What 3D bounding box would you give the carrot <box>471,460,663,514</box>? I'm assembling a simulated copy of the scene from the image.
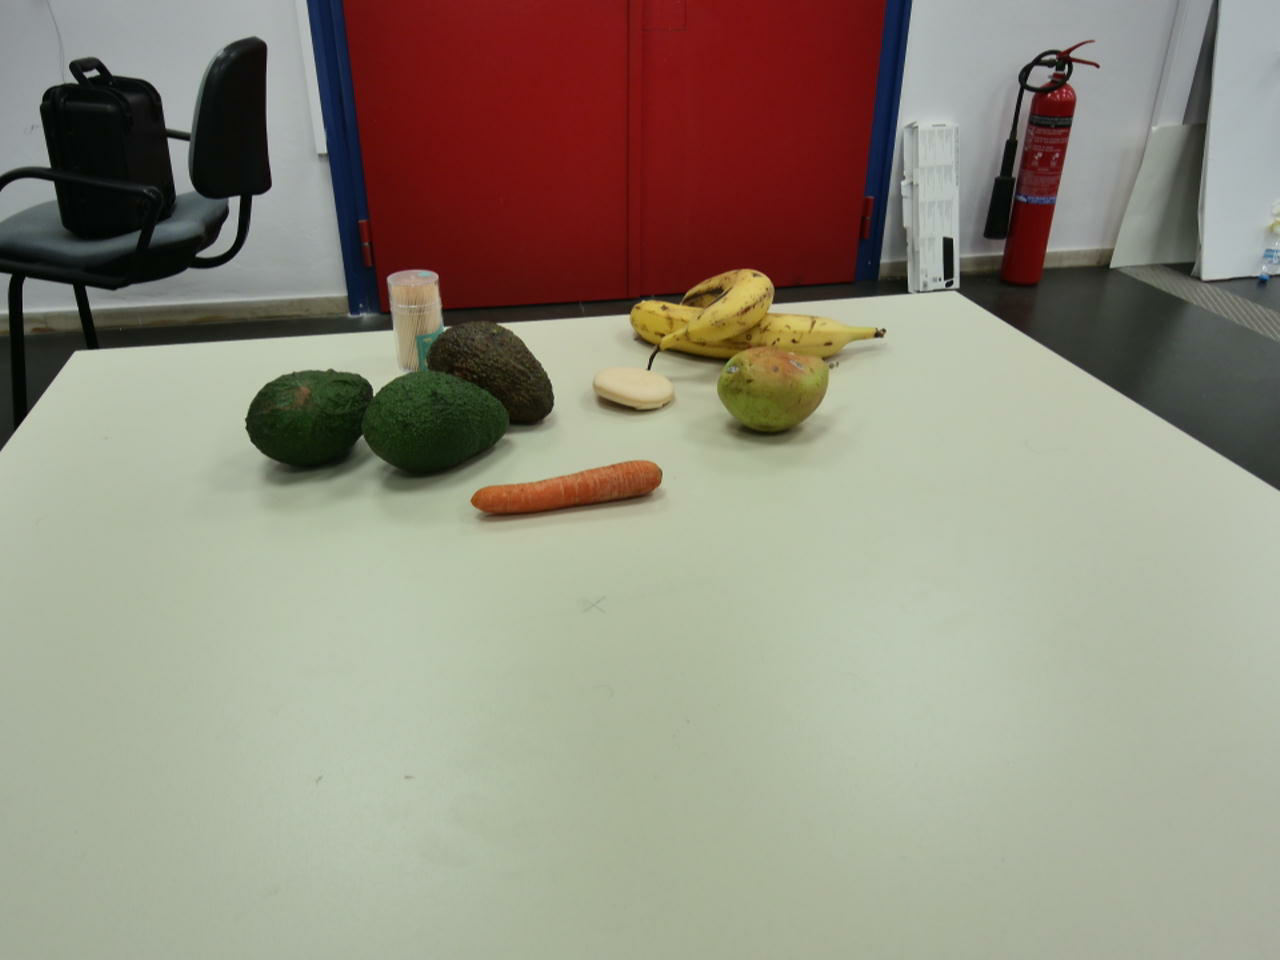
[{"bbox_3d":[-0.045,0.005,0.631,0.122,0.023,0.024,-7,27,-14],"label":"carrot"}]
